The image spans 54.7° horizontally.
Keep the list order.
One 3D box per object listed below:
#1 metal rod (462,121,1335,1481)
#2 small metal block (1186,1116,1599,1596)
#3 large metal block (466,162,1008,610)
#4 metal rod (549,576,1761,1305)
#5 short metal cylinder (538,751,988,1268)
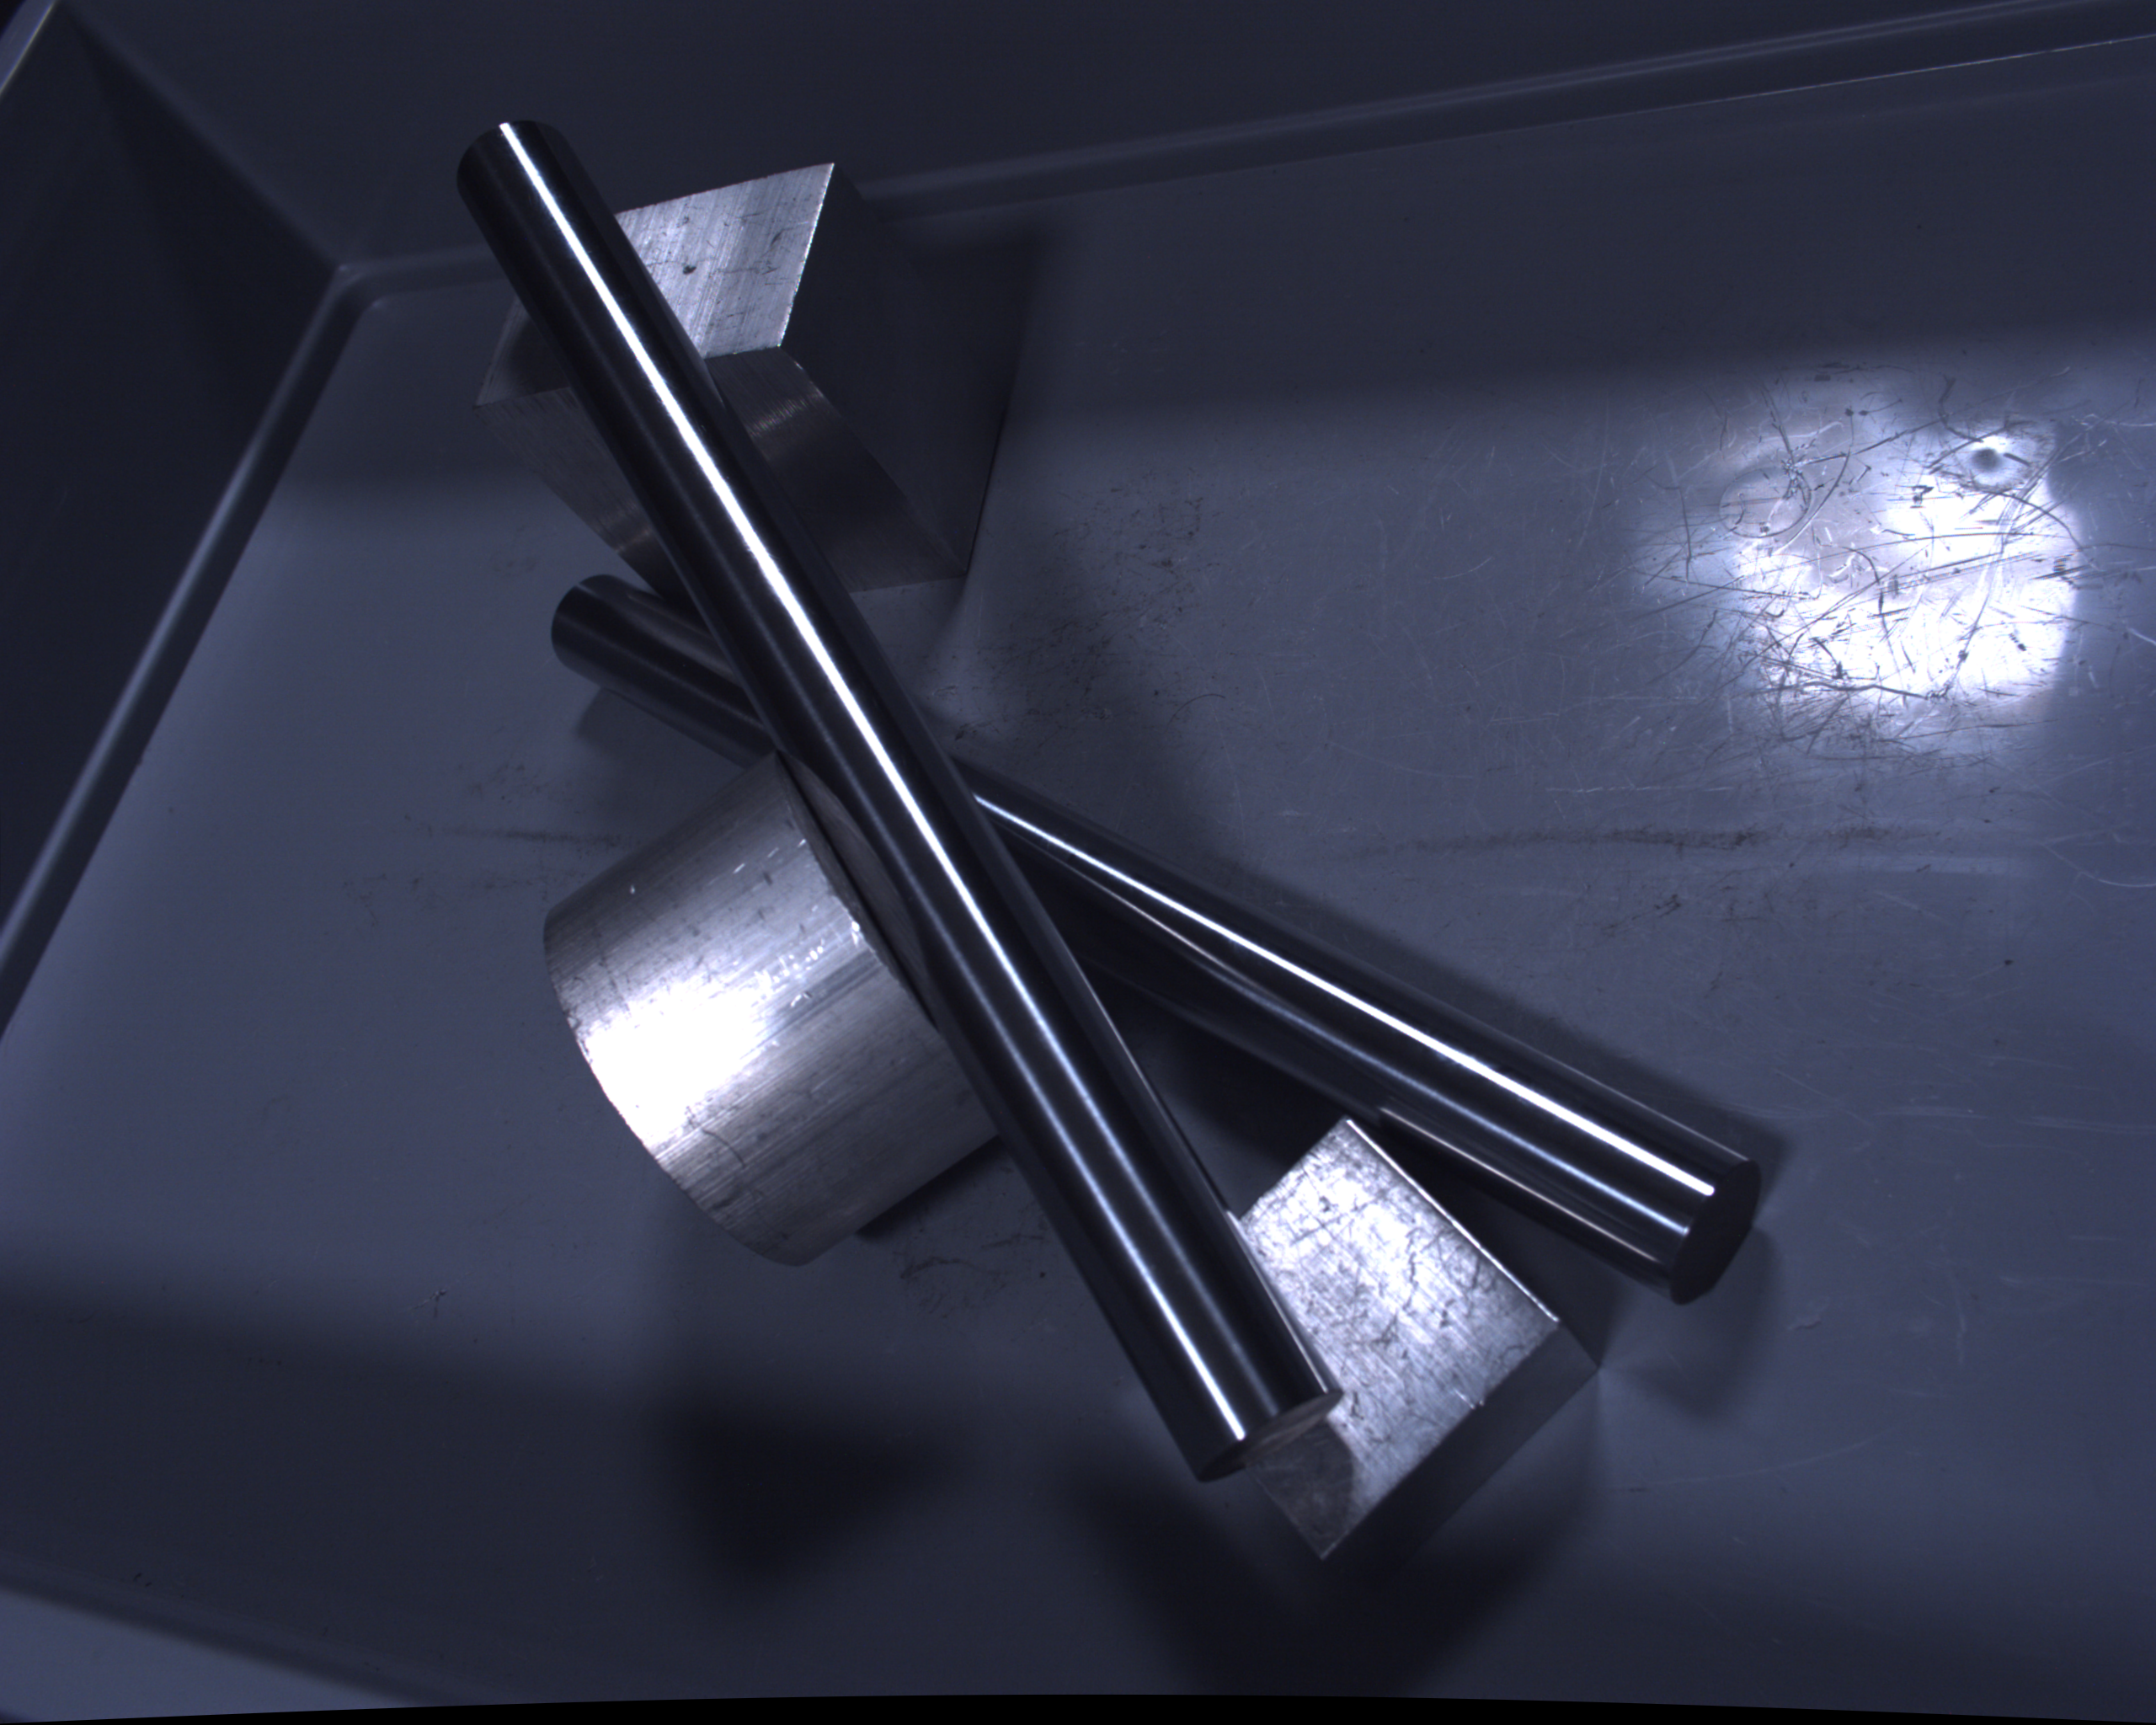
[{"bbox_3d":[-0.045,-0.030,0.370,0.025,0.025,0.299,-35,64,5],"label":"metal rod"},{"bbox_3d":[0.044,0.078,0.332,0.050,0.025,0.050,-44,51,-3],"label":"small metal block"},{"bbox_3d":[-0.073,-0.102,0.469,0.080,0.080,0.050,-4,60,26],"label":"large metal block"},{"bbox_3d":[-0.009,0.000,0.407,0.300,0.025,0.025,28,77,37],"label":"metal rod"},{"bbox_3d":[-0.051,0.025,0.377,0.050,0.080,0.080,-35,52,5],"label":"short metal cylinder"}]
